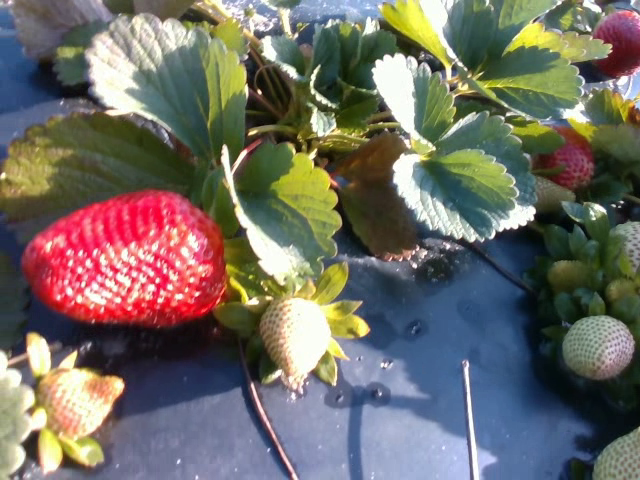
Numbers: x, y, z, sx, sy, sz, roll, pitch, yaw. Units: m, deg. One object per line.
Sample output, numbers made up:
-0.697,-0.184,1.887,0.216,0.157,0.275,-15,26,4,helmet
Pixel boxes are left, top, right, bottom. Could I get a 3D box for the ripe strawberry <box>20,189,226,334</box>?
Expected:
-0.062,0.006,0.203,0.056,0.055,0.072,-9,11,31,ripe strawberry
